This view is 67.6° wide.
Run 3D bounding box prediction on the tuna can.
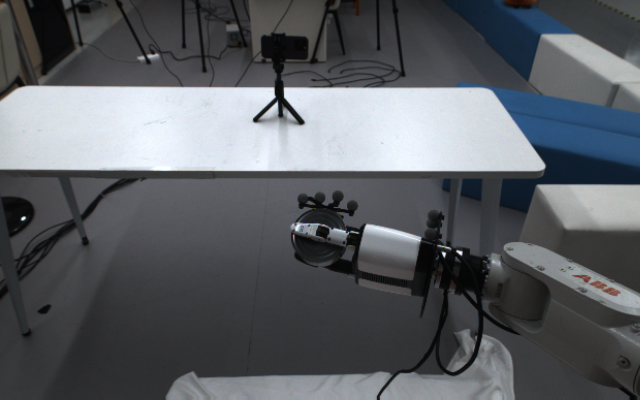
[{"bbox_3d":[0.001,0.057,0.741,0.085,0.034,0.085,-3,69,7],"label":"tuna can"}]
